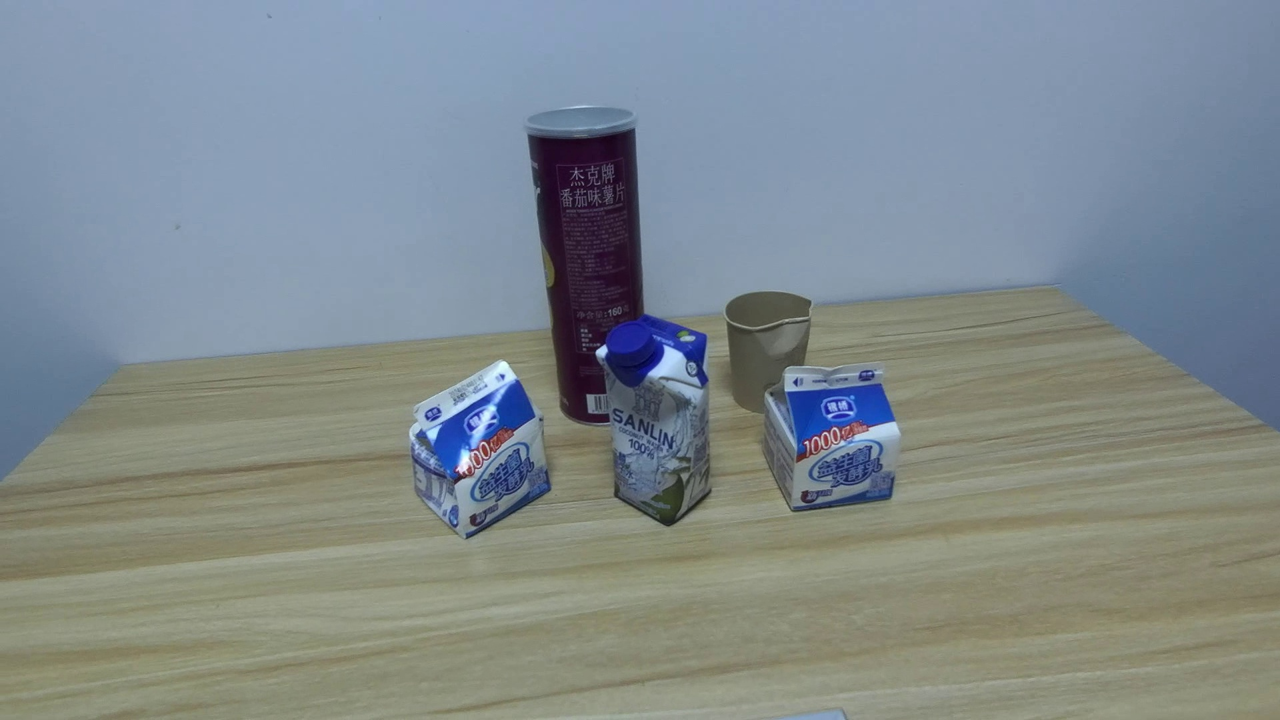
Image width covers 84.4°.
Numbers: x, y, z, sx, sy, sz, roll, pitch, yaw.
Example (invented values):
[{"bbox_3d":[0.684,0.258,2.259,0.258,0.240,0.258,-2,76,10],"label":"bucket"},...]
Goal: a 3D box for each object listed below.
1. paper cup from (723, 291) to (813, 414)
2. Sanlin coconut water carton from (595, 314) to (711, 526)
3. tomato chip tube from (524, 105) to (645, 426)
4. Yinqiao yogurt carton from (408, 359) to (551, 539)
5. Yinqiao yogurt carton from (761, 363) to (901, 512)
[{"bbox_3d":[0.101,-0.005,0.572,0.068,0.081,0.073,5,30,14],"label":"paper cup"},{"bbox_3d":[0.010,0.035,0.461,0.077,0.142,0.058,21,43,36],"label":"Sanlin coconut water carton"},{"bbox_3d":[-0.035,-0.066,0.546,0.078,0.234,0.078,-2,29,1],"label":"tomato chip tube"},{"bbox_3d":[-0.113,0.053,0.491,0.083,0.093,0.077,-26,37,-34],"label":"Yinqiao yogurt carton"},{"bbox_3d":[0.131,0.042,0.486,0.076,0.092,0.073,-5,30,-7],"label":"Yinqiao yogurt carton"}]
